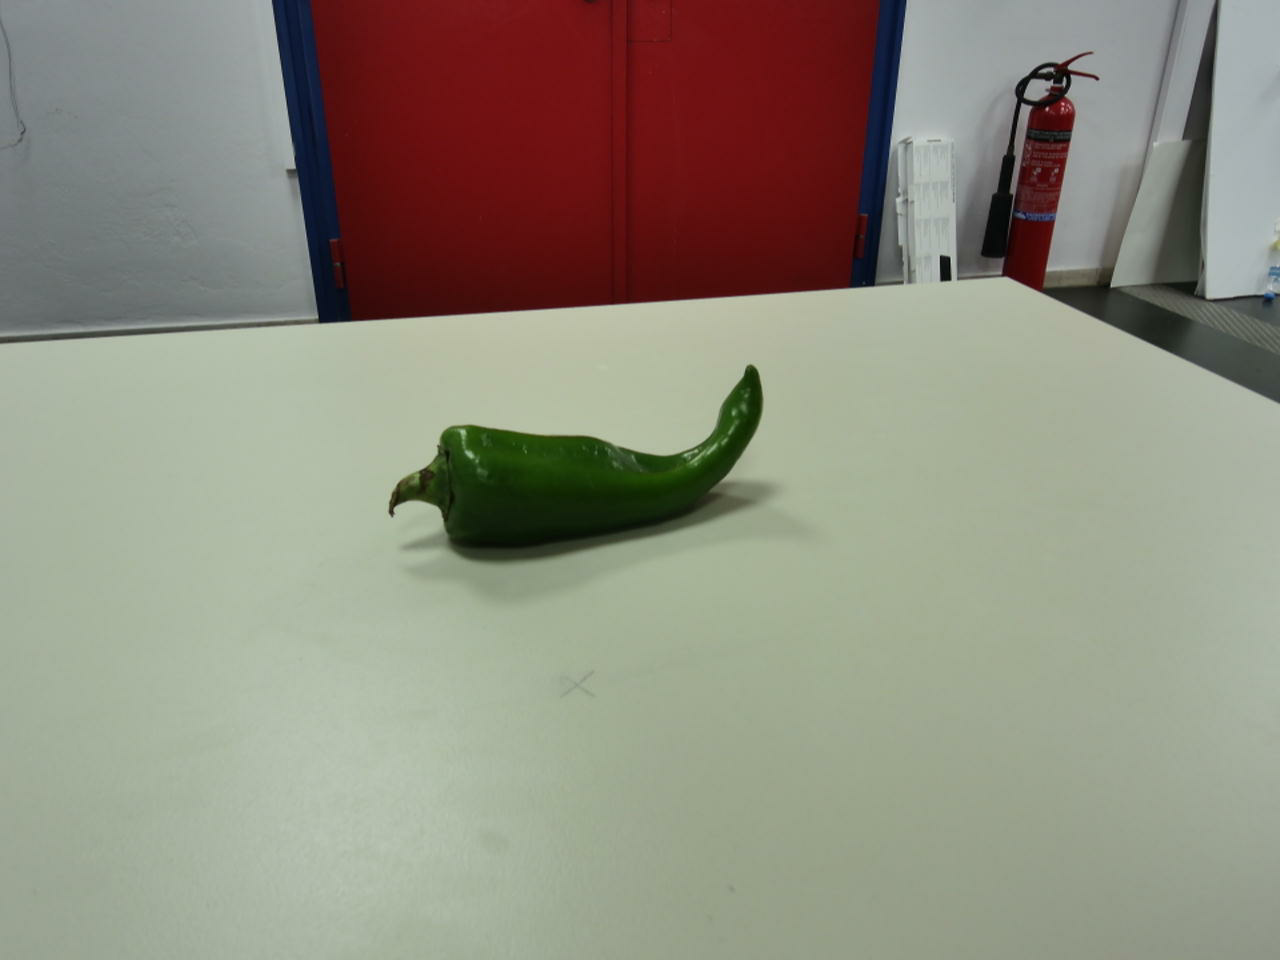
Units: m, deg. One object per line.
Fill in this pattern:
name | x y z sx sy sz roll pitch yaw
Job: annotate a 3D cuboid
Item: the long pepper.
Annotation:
long pepper | -0.024 -0.010 0.446 0.175 0.065 0.058 -6 25 -14
